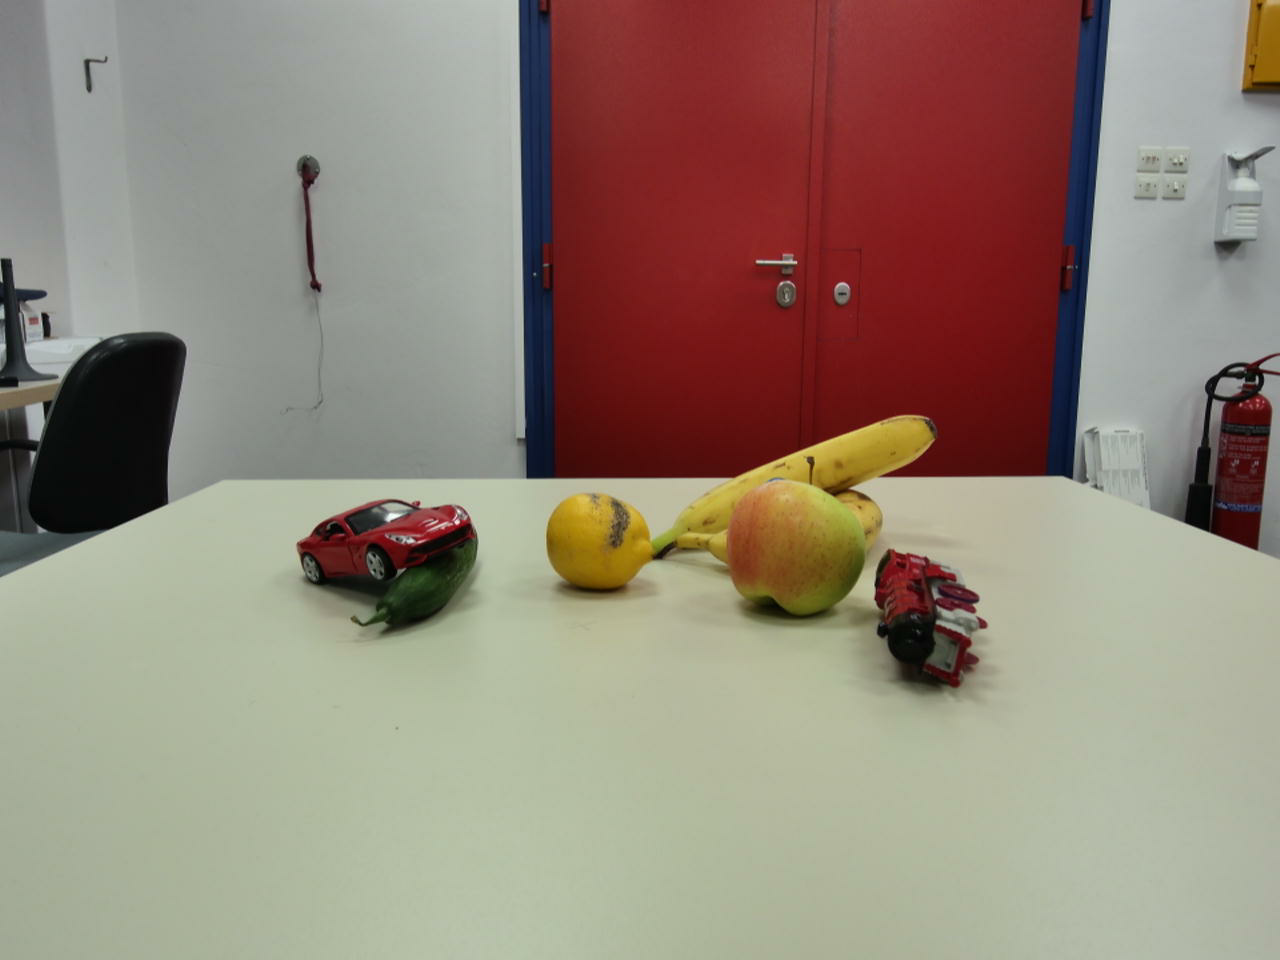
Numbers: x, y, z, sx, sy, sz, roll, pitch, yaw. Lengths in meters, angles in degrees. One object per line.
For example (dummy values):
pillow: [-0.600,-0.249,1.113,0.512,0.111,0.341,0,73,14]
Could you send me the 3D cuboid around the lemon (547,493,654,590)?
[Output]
lemon: [-0.025,0.036,0.592,0.061,0.056,0.058,0,8,-8]
